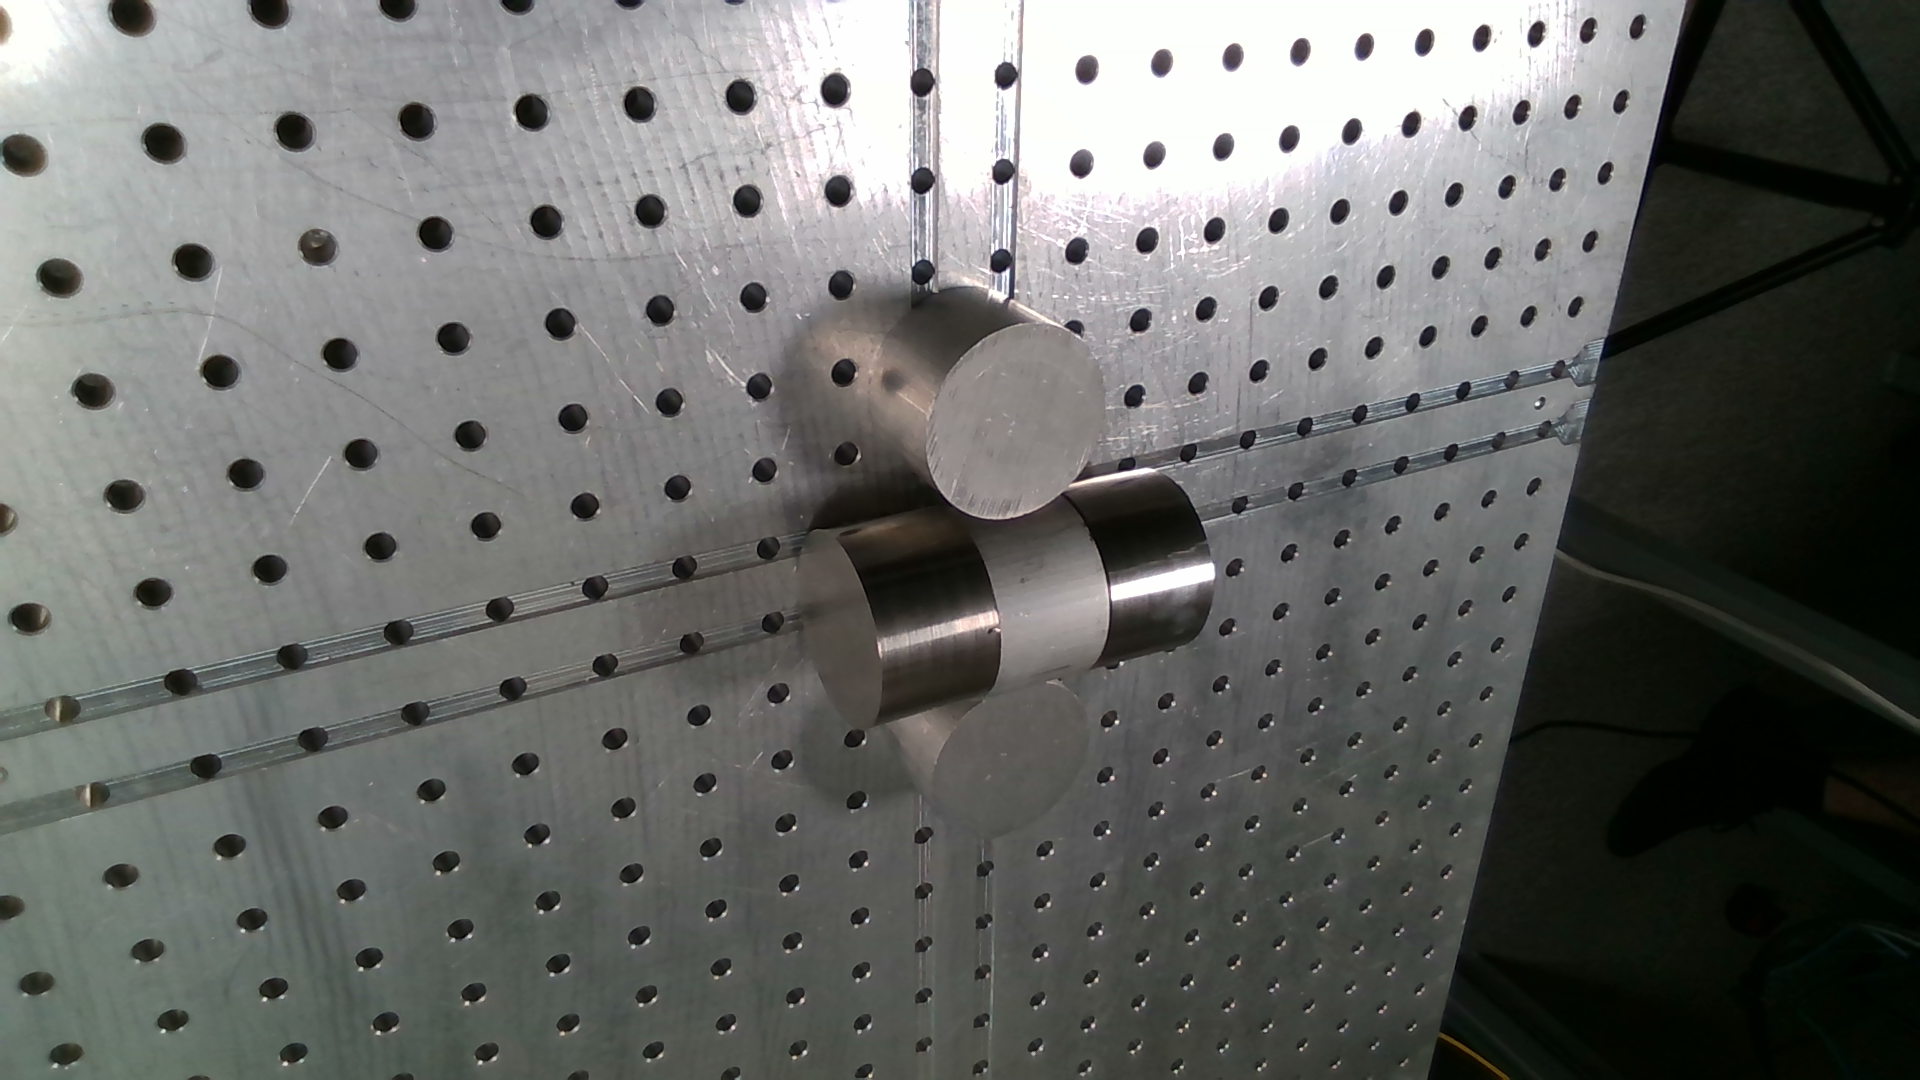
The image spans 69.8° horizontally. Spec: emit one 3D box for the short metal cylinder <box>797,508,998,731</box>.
[{"bbox_3d":[-0.026,0.030,0.548,0.050,0.080,0.080,-13,121,-25],"label":"short metal cylinder"}]

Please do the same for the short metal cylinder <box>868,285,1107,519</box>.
[{"bbox_3d":[0.011,-0.055,0.544,0.080,0.050,0.080,-14,122,-25],"label":"short metal cylinder"}]

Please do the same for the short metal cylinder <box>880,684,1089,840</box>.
[{"bbox_3d":[0.011,0.087,0.620,0.080,0.050,0.080,-14,122,-25],"label":"short metal cylinder"}]

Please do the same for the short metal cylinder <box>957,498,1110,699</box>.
[{"bbox_3d":[0.019,0.022,0.571,0.050,0.080,0.080,-13,121,-26],"label":"short metal cylinder"}]

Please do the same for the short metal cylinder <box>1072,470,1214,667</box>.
[{"bbox_3d":[0.064,0.013,0.593,0.050,0.080,0.080,-12,120,-26],"label":"short metal cylinder"}]
